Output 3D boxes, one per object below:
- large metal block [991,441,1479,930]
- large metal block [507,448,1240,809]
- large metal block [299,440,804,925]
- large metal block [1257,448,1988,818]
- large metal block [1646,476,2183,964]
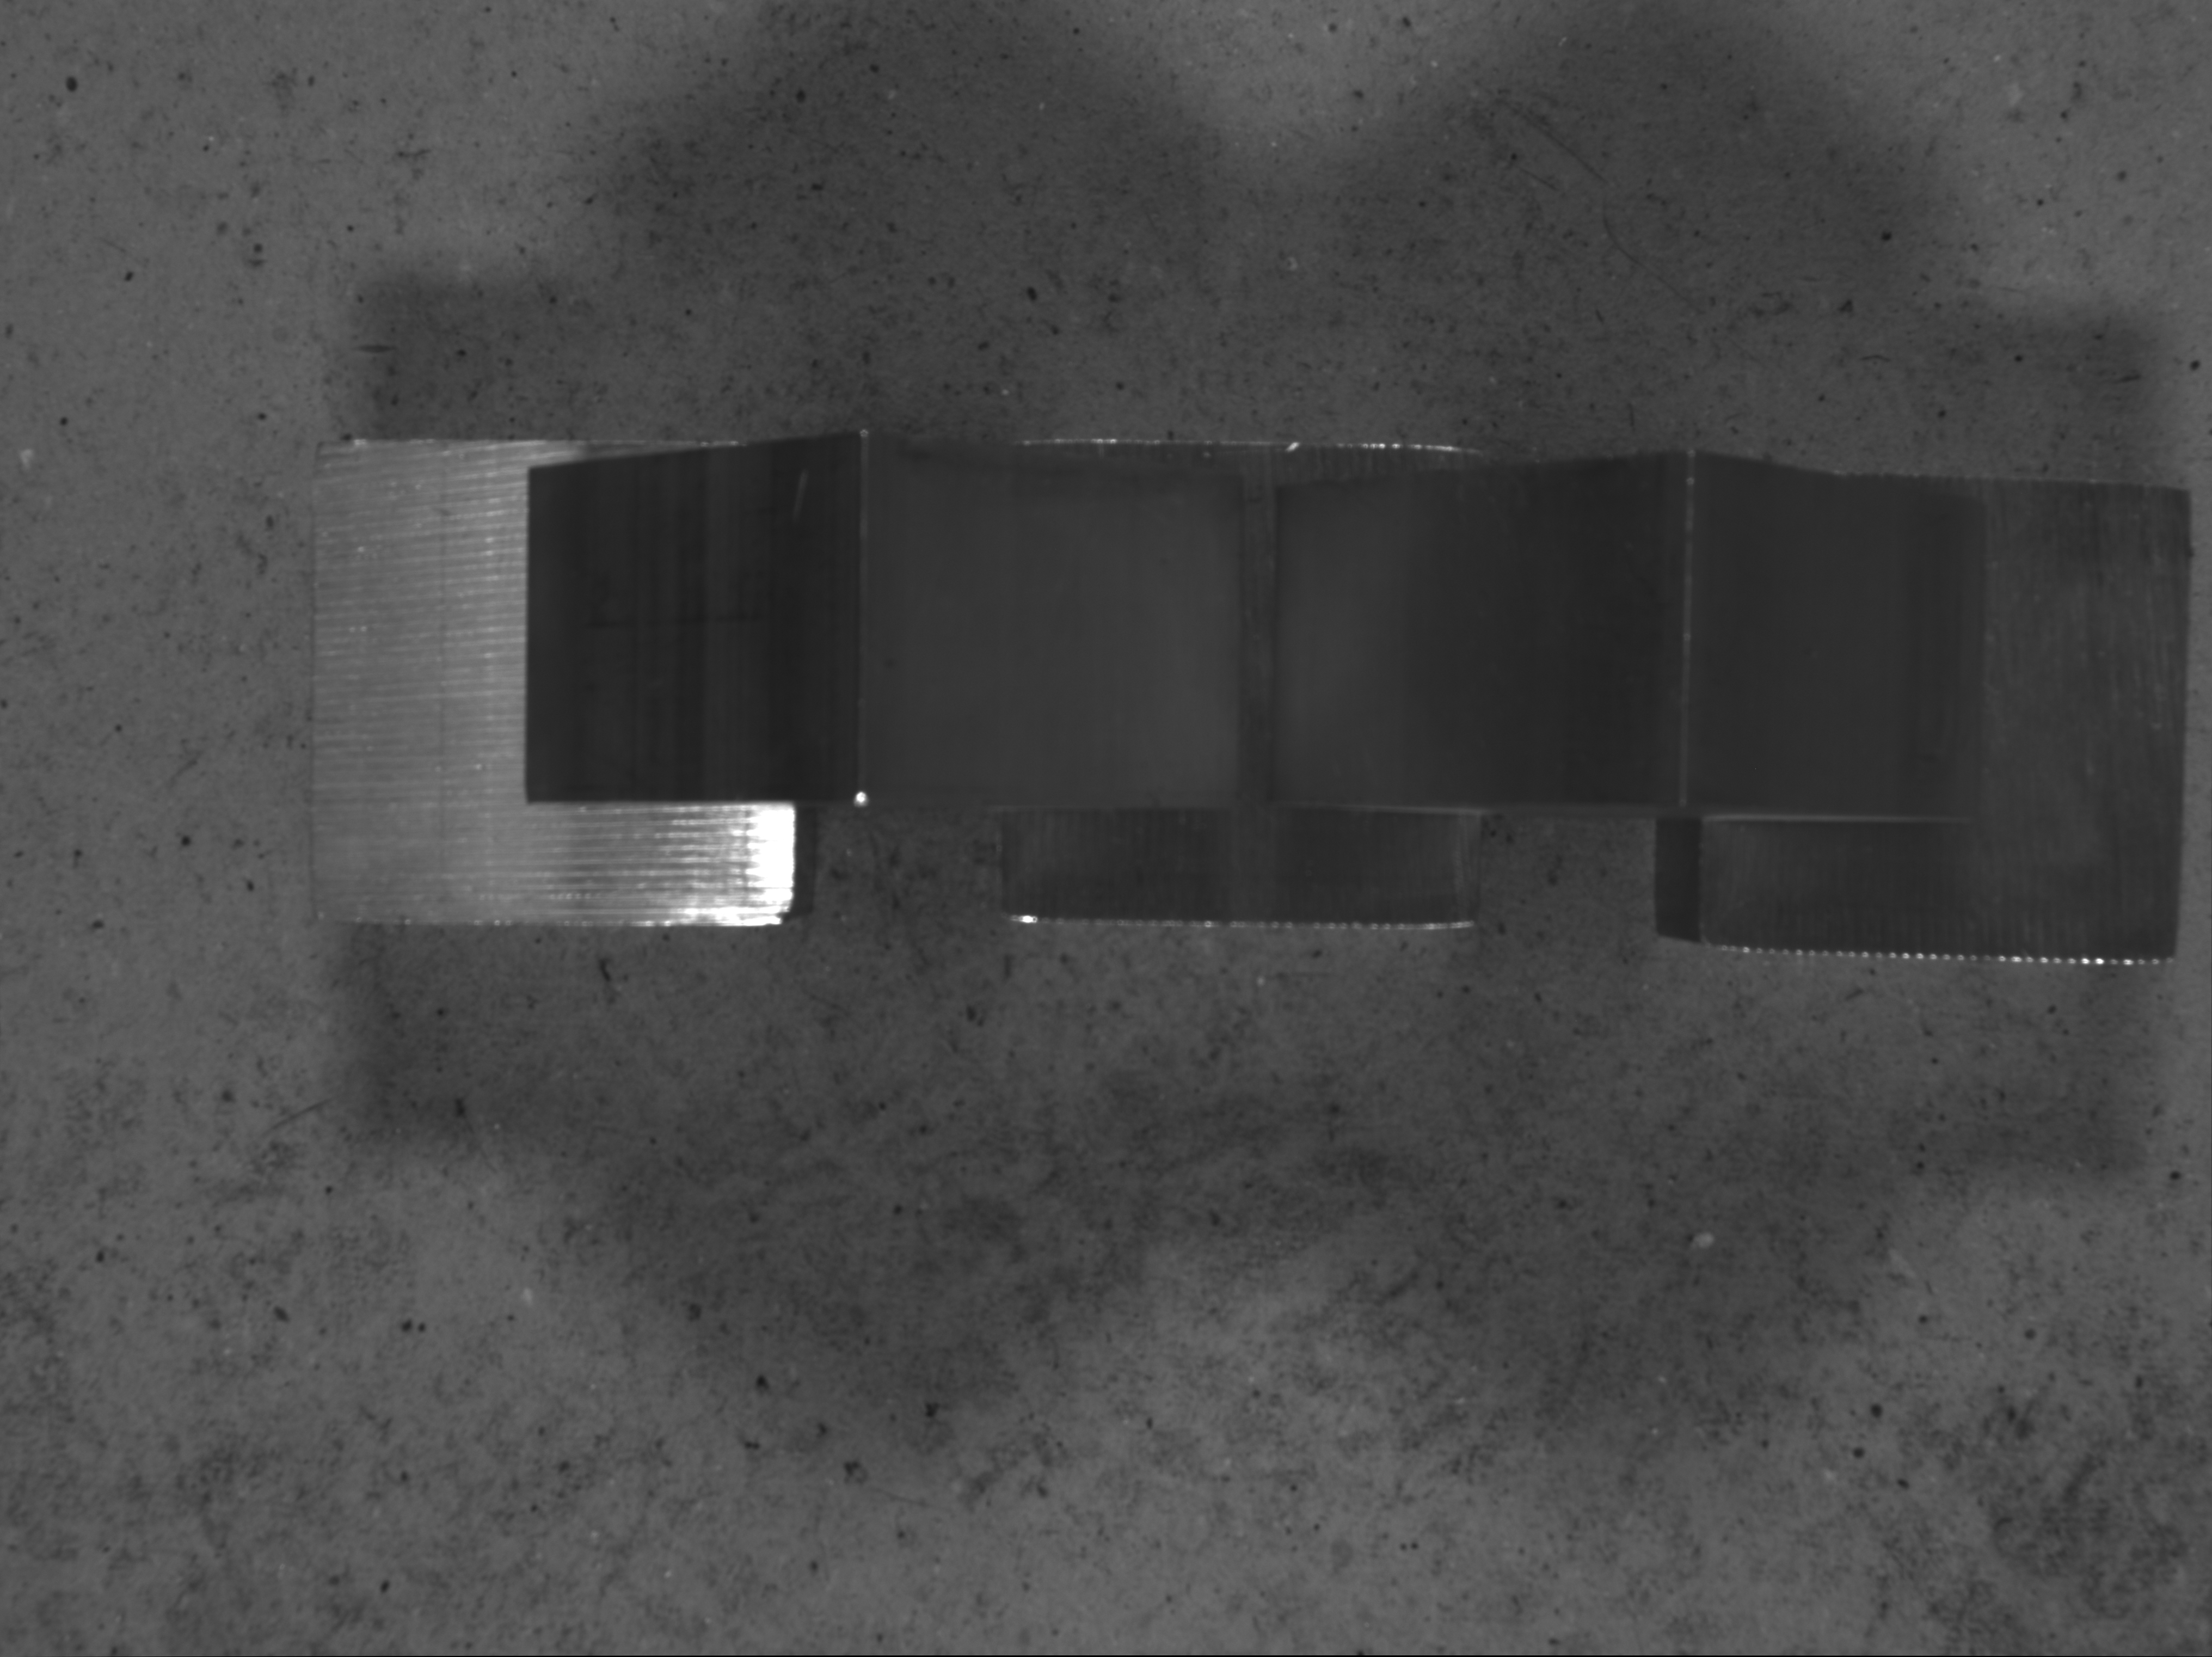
[{"bbox_3d":[0.021,-0.024,0.633,0.080,0.050,0.080,1,90,0],"label":"large metal block"},{"bbox_3d":[-0.036,-0.028,0.567,0.080,0.080,0.050,-1,90,-45],"label":"large metal block"},{"bbox_3d":[-0.094,-0.024,0.632,0.080,0.050,0.080,0,90,0],"label":"large metal block"},{"bbox_3d":[0.081,-0.028,0.571,0.080,0.080,0.050,1,89,44],"label":"large metal block"},{"bbox_3d":[0.138,-0.018,0.634,0.080,0.050,0.080,2,90,0],"label":"large metal block"}]
